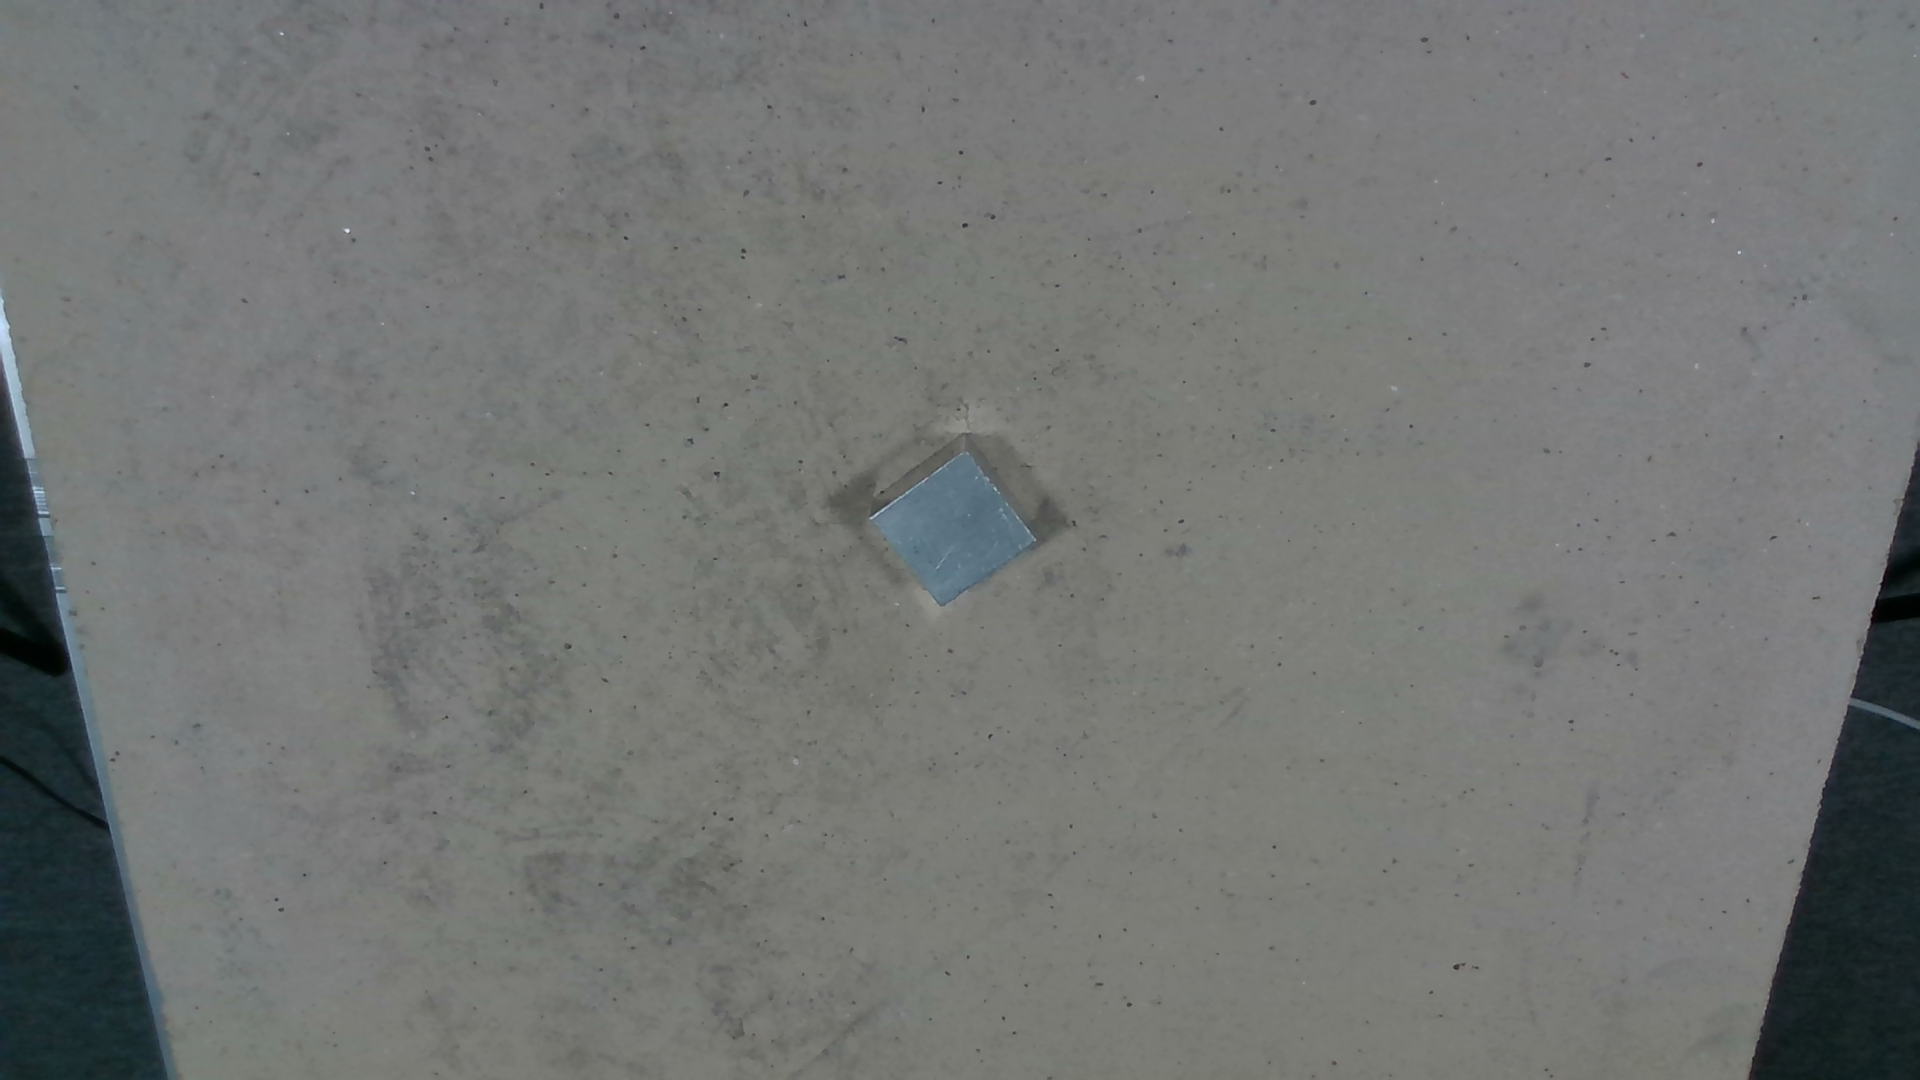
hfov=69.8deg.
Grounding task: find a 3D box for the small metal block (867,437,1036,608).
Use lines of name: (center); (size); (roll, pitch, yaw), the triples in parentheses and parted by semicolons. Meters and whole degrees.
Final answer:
small metal block: (-0.003, -0.008, 0.582); (0.050, 0.025, 0.050); (-35, 106, 12)
